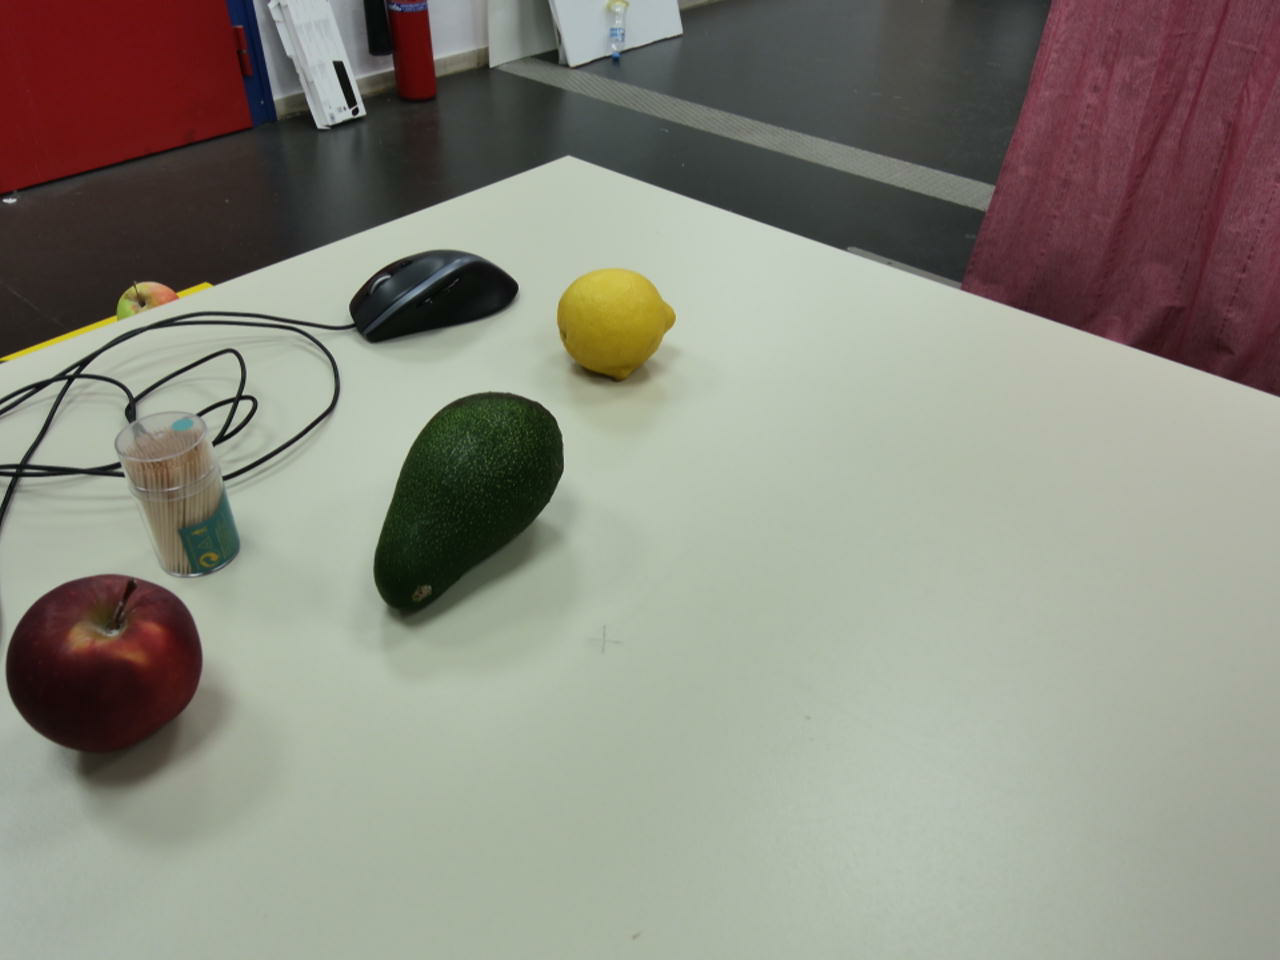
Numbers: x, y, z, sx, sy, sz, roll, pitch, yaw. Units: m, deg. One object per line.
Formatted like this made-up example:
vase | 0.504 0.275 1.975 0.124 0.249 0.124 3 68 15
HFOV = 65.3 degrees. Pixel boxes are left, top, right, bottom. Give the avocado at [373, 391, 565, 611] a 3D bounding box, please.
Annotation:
avocado | -0.091 0.002 0.498 0.123 0.076 0.074 -28 46 -34
